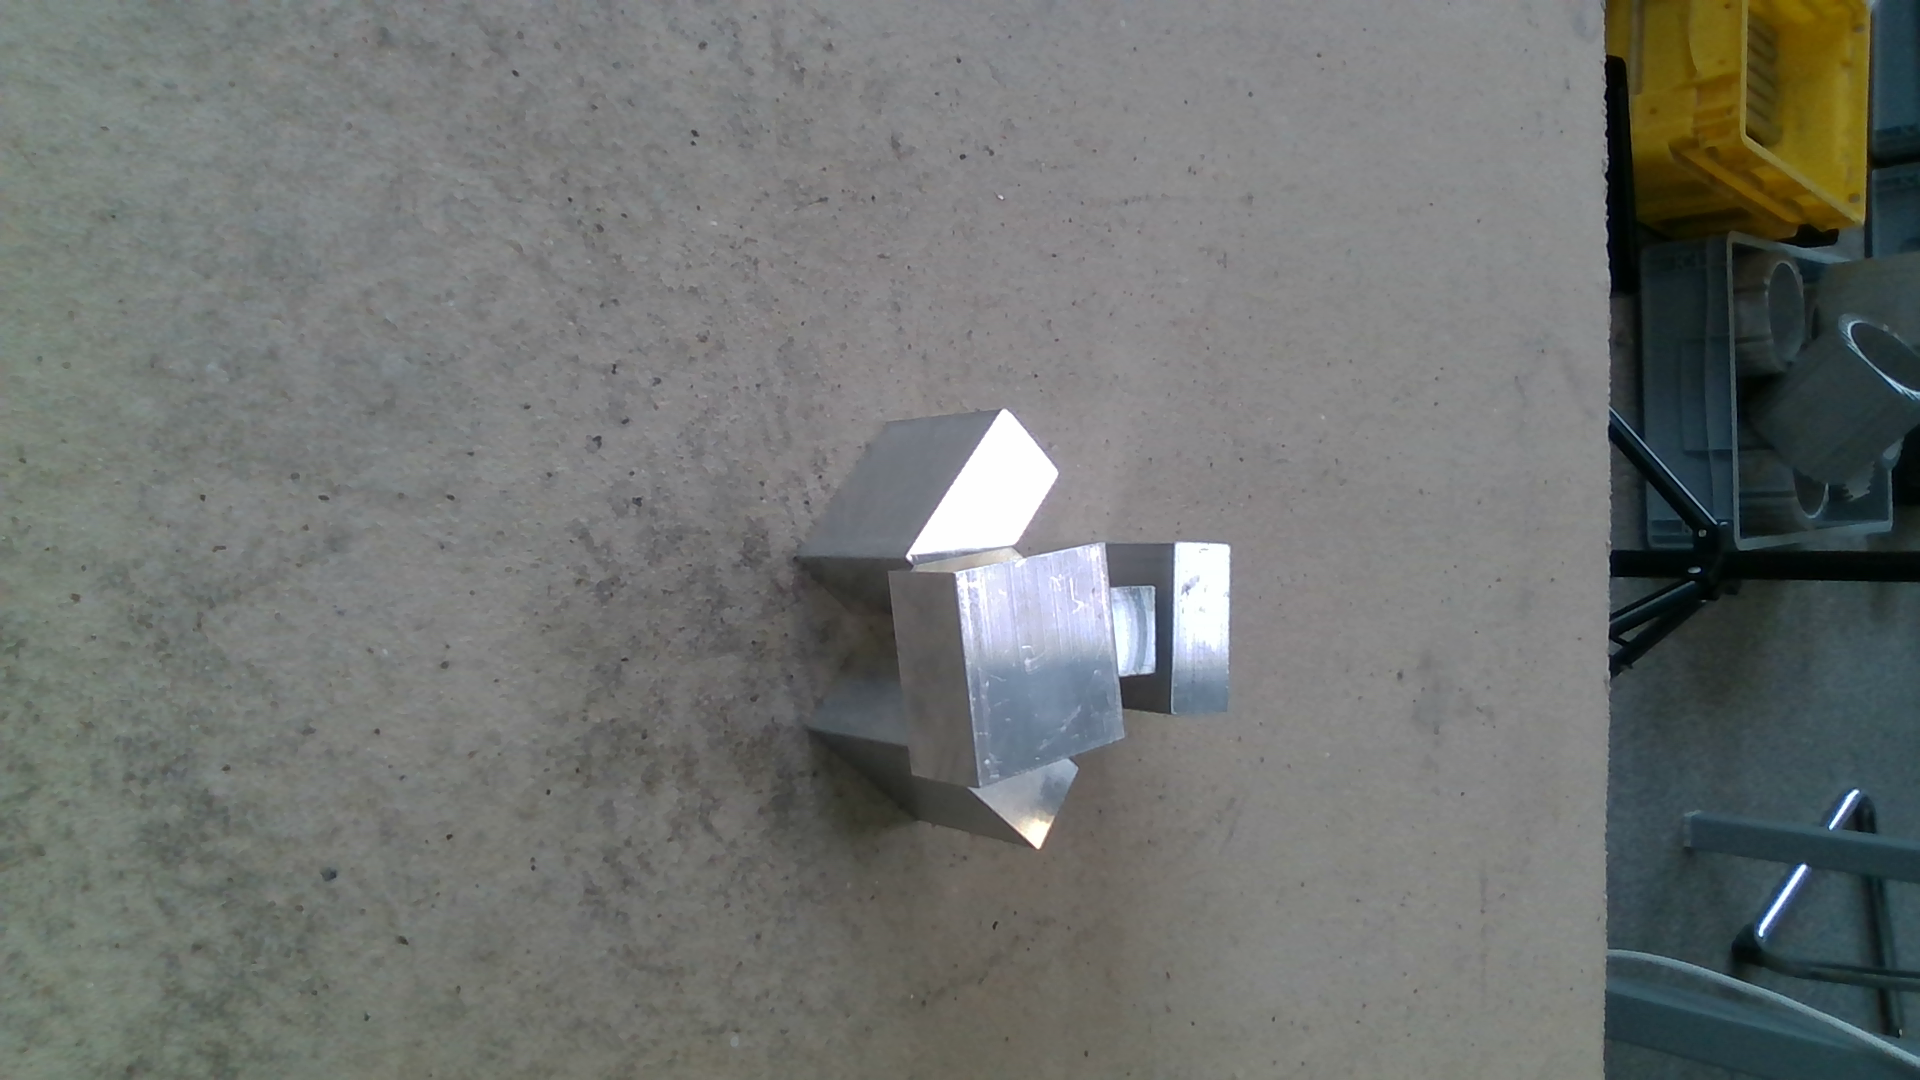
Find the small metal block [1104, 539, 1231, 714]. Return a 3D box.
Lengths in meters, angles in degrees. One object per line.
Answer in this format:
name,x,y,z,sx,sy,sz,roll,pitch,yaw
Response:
small metal block,0.055,0.025,0.421,0.025,0.050,0.050,2,89,-40

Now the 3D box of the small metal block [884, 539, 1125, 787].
small metal block,0.012,0.028,0.337,0.050,0.025,0.050,-11,96,-40

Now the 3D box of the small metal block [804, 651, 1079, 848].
small metal block,-0.005,0.056,0.371,0.050,0.050,0.025,44,63,-31

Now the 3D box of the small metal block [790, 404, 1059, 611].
small metal block,-0.010,-0.008,0.366,0.025,0.050,0.050,48,63,-30

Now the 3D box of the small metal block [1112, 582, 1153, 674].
small metal block,0.019,0.025,0.392,0.050,0.050,0.025,-1,91,-41
